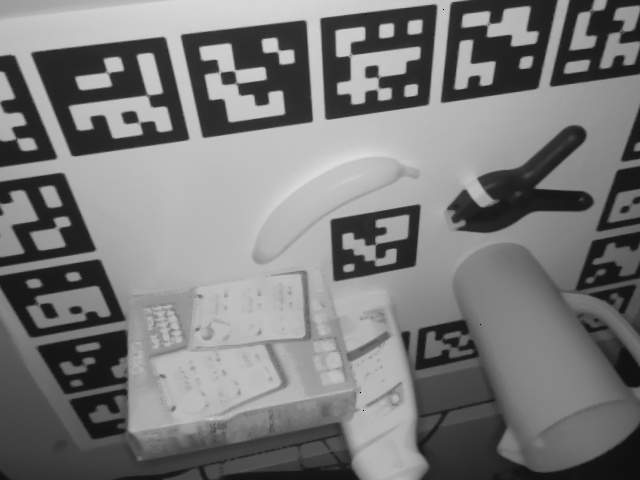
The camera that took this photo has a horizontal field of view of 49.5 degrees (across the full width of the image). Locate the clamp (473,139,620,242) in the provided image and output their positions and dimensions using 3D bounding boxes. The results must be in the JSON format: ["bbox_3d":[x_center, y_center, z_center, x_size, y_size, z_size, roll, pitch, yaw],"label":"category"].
[{"bbox_3d":[0.253,-0.041,0.773,0.165,0.037,0.121,-20,135,4],"label":"clamp"}]

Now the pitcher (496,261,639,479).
[{"bbox_3d":[0.291,0.137,0.774,0.188,0.243,0.133,-21,134,7],"label":"pitcher"}]

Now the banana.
[{"bbox_3d":[0.034,-0.030,0.729,0.196,0.039,0.074,-34,132,15],"label":"banana"}]

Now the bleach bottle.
[{"bbox_3d":[0.104,0.182,0.786,0.103,0.251,0.067,-8,134,-8],"label":"bleach bottle"}]

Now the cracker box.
[{"bbox_3d":[-0.055,0.132,0.732,0.215,0.165,0.071,-8,136,-11],"label":"cracker box"}]
